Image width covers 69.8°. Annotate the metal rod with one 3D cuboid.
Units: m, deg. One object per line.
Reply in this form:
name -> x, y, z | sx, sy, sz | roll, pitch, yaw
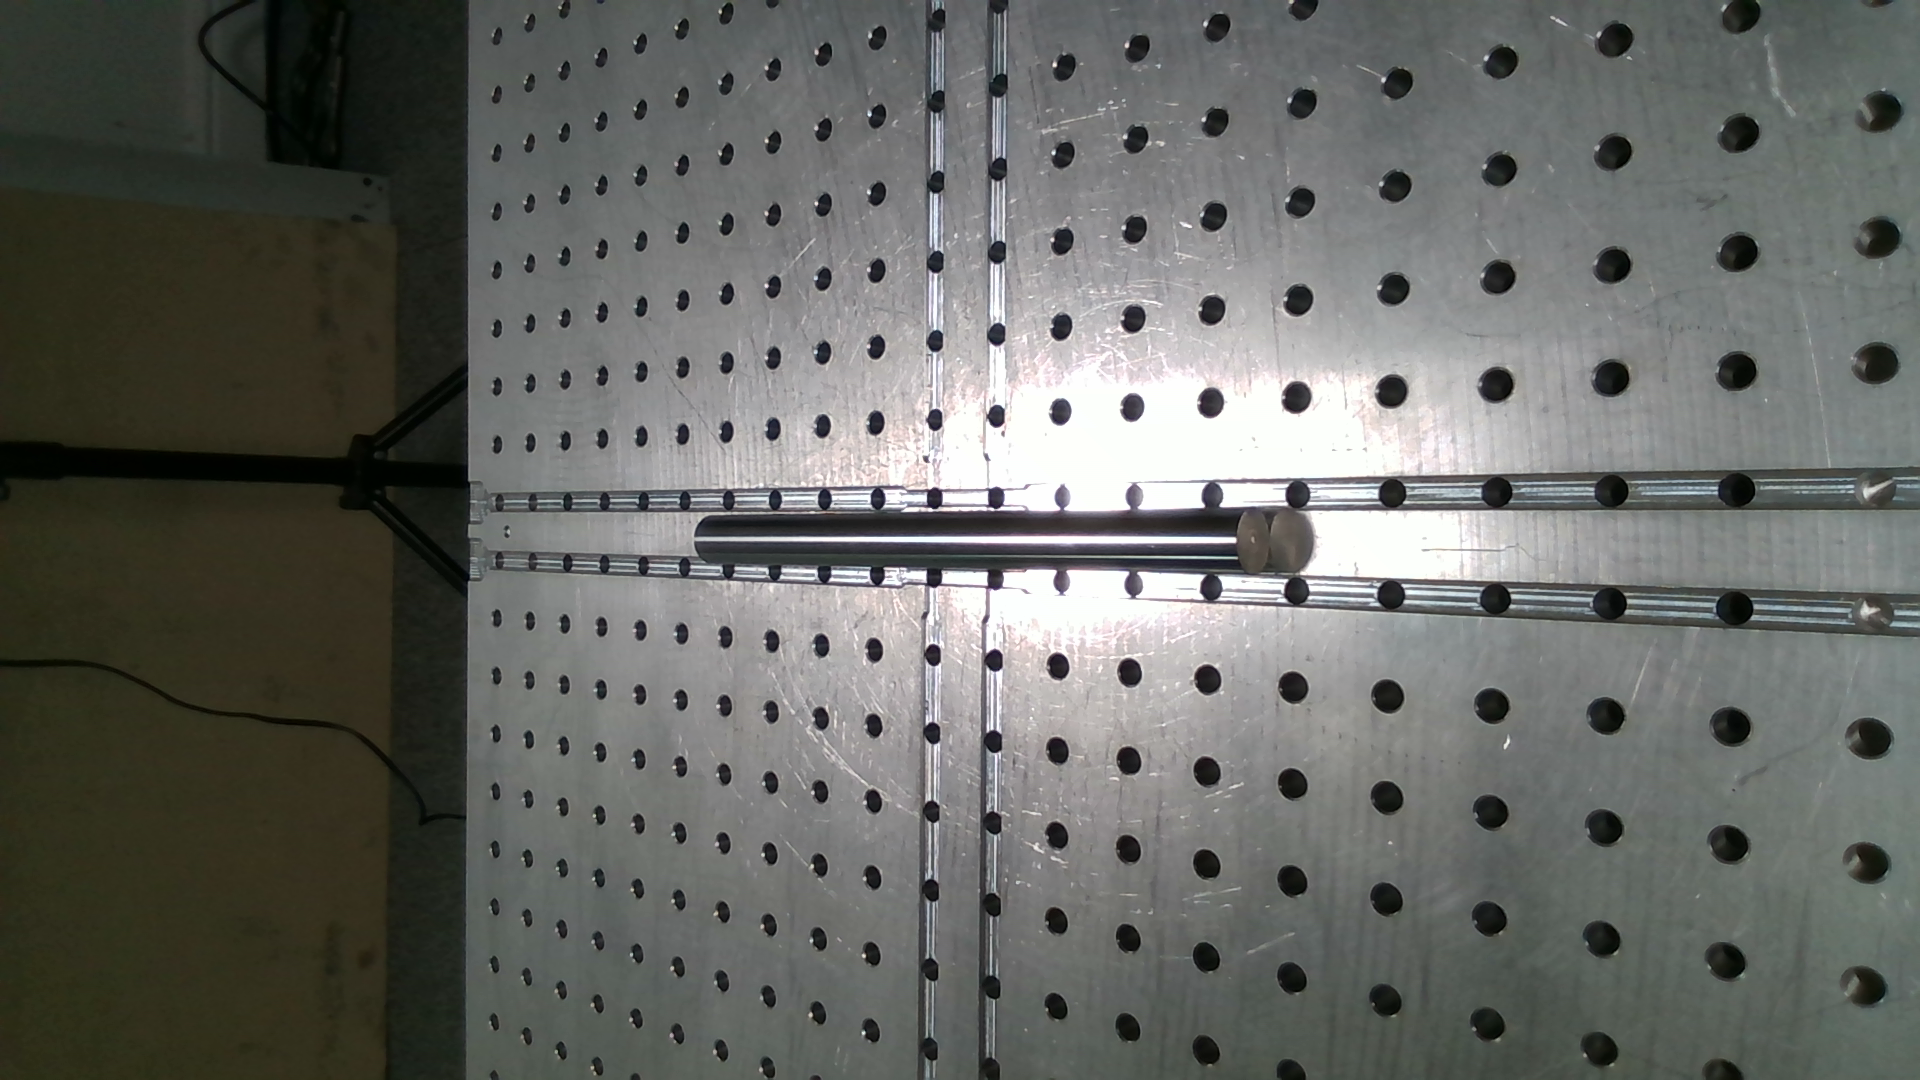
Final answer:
metal rod -> -0.009, 0.000, 0.593 | 0.300, 0.025, 0.025 | 0, 91, 40
